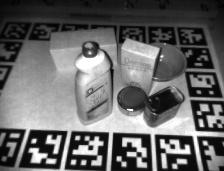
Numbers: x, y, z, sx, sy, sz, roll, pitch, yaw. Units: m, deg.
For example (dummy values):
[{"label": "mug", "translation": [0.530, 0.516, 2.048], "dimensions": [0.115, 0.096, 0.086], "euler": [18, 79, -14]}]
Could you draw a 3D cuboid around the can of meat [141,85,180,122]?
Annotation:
[{"label": "can of meat", "translation": [0.131, 0.046, 0.597], "dimensions": [0.102, 0.084, 0.057], "euler": [-24, 55, -17]}]

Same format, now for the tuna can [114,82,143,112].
[{"label": "tuna can", "translation": [0.048, 0.034, 0.628], "dimensions": [0.086, 0.034, 0.085], "euler": [0, 58, 1]}]

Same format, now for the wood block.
[{"label": "wood block", "translation": [-0.100, -0.137, 0.721], "dimensions": [0.207, 0.090, 0.090], "euler": [-6, 59, -5]}]

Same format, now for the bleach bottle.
[{"label": "bleach bottle", "translation": [-0.056, -0.009, 0.531], "dimensions": [0.103, 0.252, 0.067], "euler": [-21, 56, -12]}]

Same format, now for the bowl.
[{"label": "bowl", "translation": [0.156, -0.086, 0.702], "dimensions": [0.161, 0.055, 0.161], "euler": [-2, 54, 4]}]

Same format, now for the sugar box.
[{"label": "sugar box", "translation": [0.071, -0.057, 0.605], "dimensions": [0.092, 0.177, 0.045], "euler": [17, 59, 17]}]
